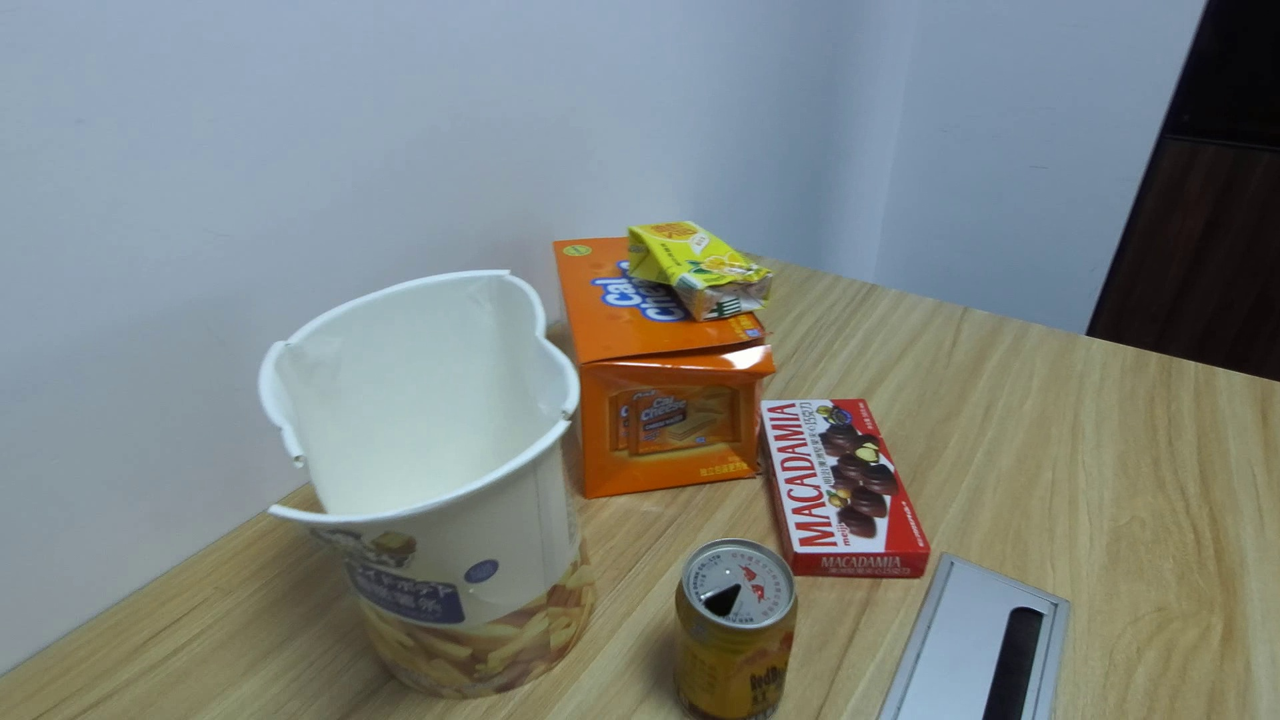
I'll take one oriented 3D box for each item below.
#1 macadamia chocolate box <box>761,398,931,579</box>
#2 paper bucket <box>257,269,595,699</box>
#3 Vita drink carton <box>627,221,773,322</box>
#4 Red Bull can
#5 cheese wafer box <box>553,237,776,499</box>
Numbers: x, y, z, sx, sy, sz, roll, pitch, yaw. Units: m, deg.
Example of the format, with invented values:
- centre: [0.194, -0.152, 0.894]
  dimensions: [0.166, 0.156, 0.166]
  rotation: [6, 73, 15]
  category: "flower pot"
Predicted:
- centre: [0.149, 0.093, 0.550]
  dimensions: [0.095, 0.027, 0.177]
  rotation: [0, 32, 1]
  category: "macadamia chocolate box"
- centre: [-0.106, 0.080, 0.414]
  dimensions: [0.146, 0.197, 0.202]
  rotation: [-15, 35, -18]
  category: "paper bucket"
- centre: [0.045, -0.069, 0.556]
  dimensions: [0.087, 0.042, 0.107]
  rotation: [-11, 36, -32]
  category: "Vita drink carton"
- centre: [0.053, 0.153, 0.393]
  dimensions: [0.068, 0.093, 0.068]
  rotation: [0, 32, 0]
  category: "Red Bull can"
- centre: [0.010, -0.008, 0.612]
  dimensions: [0.150, 0.137, 0.226]
  rotation: [-6, 32, -9]
  category: "cheese wafer box"
